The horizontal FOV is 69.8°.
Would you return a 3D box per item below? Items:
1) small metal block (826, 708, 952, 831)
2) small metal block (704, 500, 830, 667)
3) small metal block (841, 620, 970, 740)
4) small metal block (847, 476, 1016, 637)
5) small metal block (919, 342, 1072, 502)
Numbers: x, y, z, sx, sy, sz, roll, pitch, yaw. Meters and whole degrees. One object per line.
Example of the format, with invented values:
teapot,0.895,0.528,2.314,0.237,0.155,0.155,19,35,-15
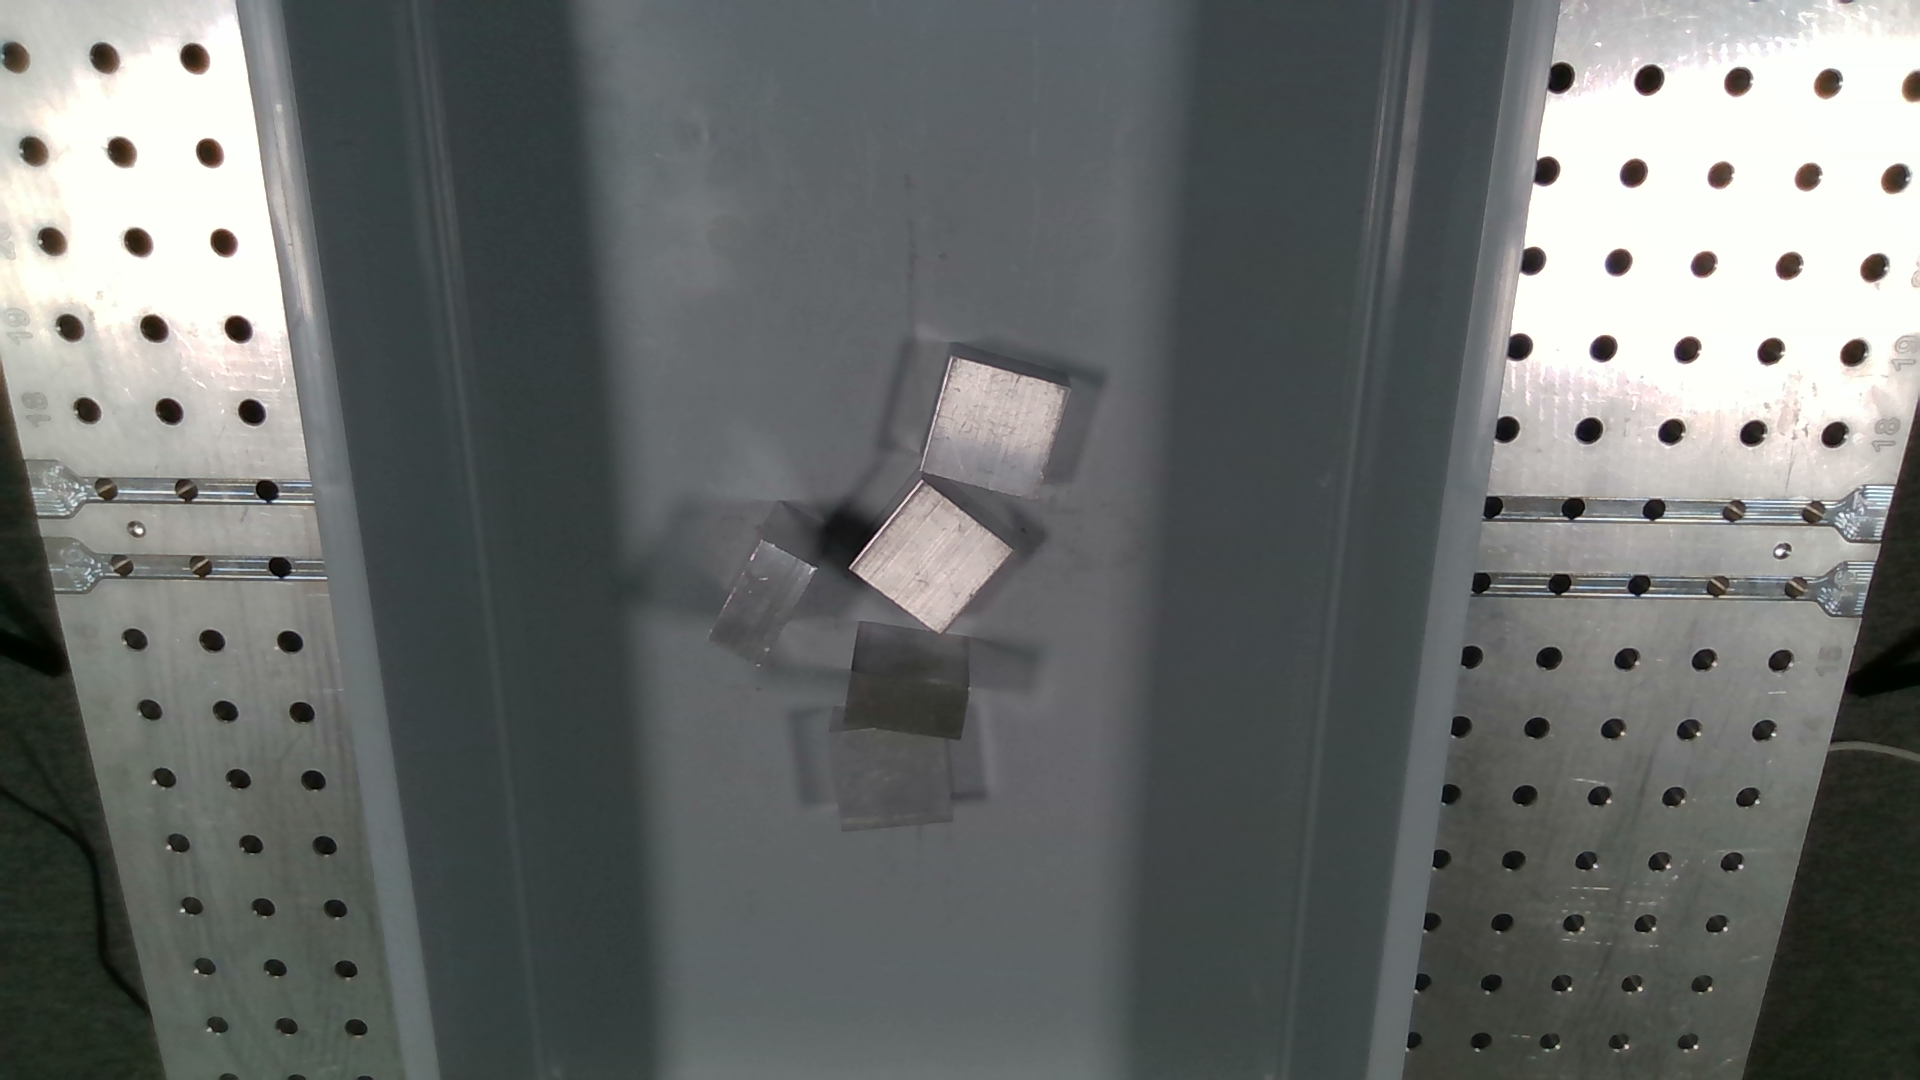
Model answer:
small metal block,-0.031,0.101,0.620,0.050,0.025,0.050,-5,110,2
small metal block,-0.080,0.017,0.576,0.025,0.050,0.050,29,108,-9
small metal block,-0.023,0.060,0.592,0.050,0.050,0.025,9,110,-3
small metal block,-0.012,0.004,0.584,0.050,0.025,0.050,37,106,-12
small metal block,0.014,-0.049,0.564,0.050,0.025,0.050,14,110,-5
